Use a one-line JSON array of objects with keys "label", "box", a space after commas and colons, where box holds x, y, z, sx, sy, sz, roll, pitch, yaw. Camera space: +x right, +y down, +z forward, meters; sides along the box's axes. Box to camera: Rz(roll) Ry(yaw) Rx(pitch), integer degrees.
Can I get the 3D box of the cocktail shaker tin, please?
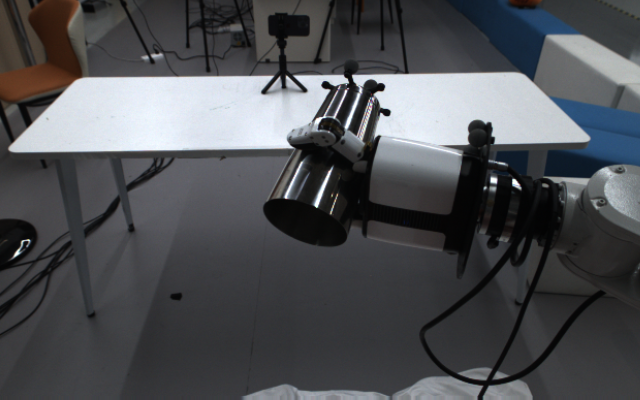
[{"label": "cocktail shaker tin", "box": [0.011, -0.044, 0.533, 0.093, 0.093, 0.170, 14, 61, 17]}]
